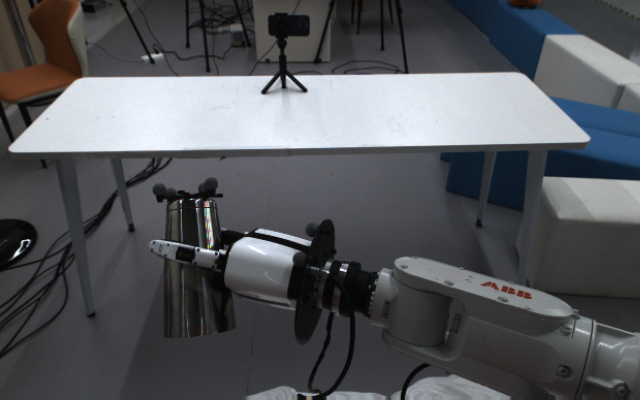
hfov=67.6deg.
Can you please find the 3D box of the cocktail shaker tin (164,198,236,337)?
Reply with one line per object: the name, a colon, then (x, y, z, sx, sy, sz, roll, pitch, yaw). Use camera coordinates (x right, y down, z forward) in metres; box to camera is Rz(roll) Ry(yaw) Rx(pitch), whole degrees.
cocktail shaker tin: (-0.163, 0.088, 0.637, 0.093, 0.170, 0.093, -7, -7, -1)
